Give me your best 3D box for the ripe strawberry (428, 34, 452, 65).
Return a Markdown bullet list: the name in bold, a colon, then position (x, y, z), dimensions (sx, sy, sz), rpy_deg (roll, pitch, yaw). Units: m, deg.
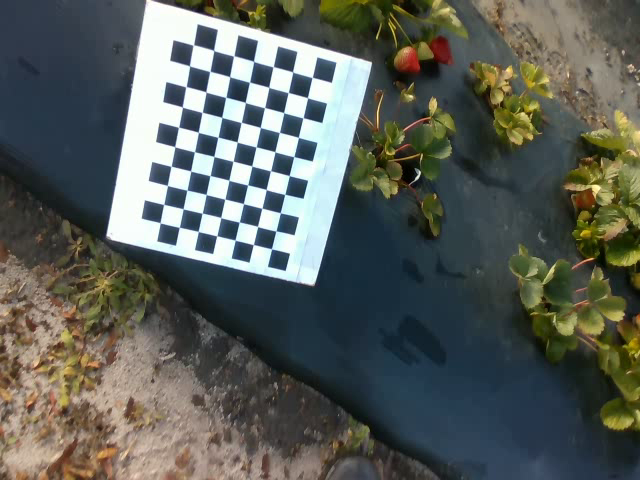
- **ripe strawberry**: position (0.218, -0.331, 1.097), dimensions (0.048, 0.065, 0.050), rpy_deg (-35, 9, 4)
